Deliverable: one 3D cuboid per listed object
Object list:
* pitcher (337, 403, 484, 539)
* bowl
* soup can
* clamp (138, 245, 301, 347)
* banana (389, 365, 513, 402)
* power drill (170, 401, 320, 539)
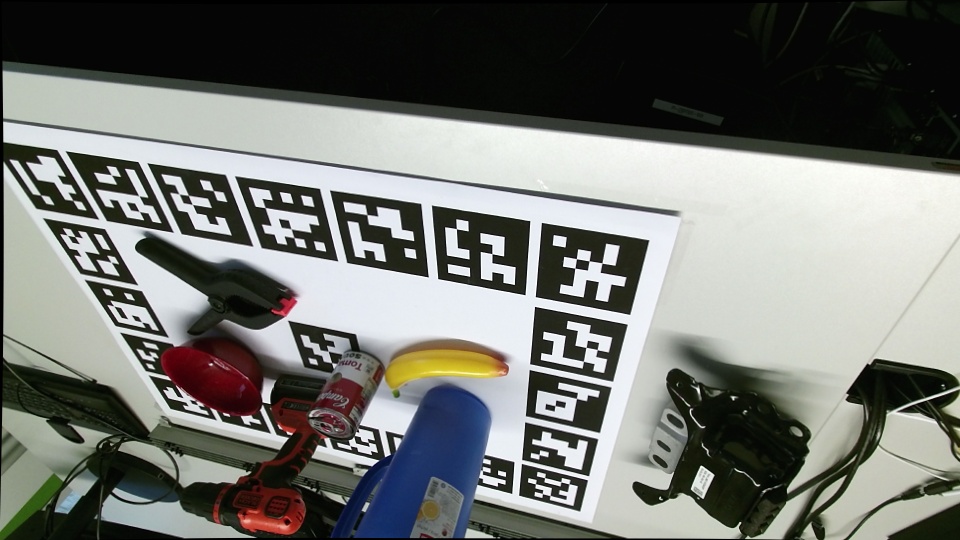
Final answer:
[{"bbox_3d":[-0.082,0.301,0.694,0.189,0.241,0.133,-10,127,25],"label":"pitcher"},{"bbox_3d":[-0.396,0.164,0.808,0.162,0.055,0.162,8,129,11],"label":"bowl"},{"bbox_3d":[-0.179,0.188,0.728,0.068,0.101,0.068,10,139,9],"label":"soup can"},{"bbox_3d":[-0.332,0.052,0.699,0.203,0.036,0.165,9,126,11],"label":"clamp"},{"bbox_3d":[-0.049,0.152,0.699,0.198,0.038,0.074,-10,133,27],"label":"banana"},{"bbox_3d":[-0.312,0.280,0.764,0.185,0.186,0.057,7,129,14],"label":"power drill"}]
